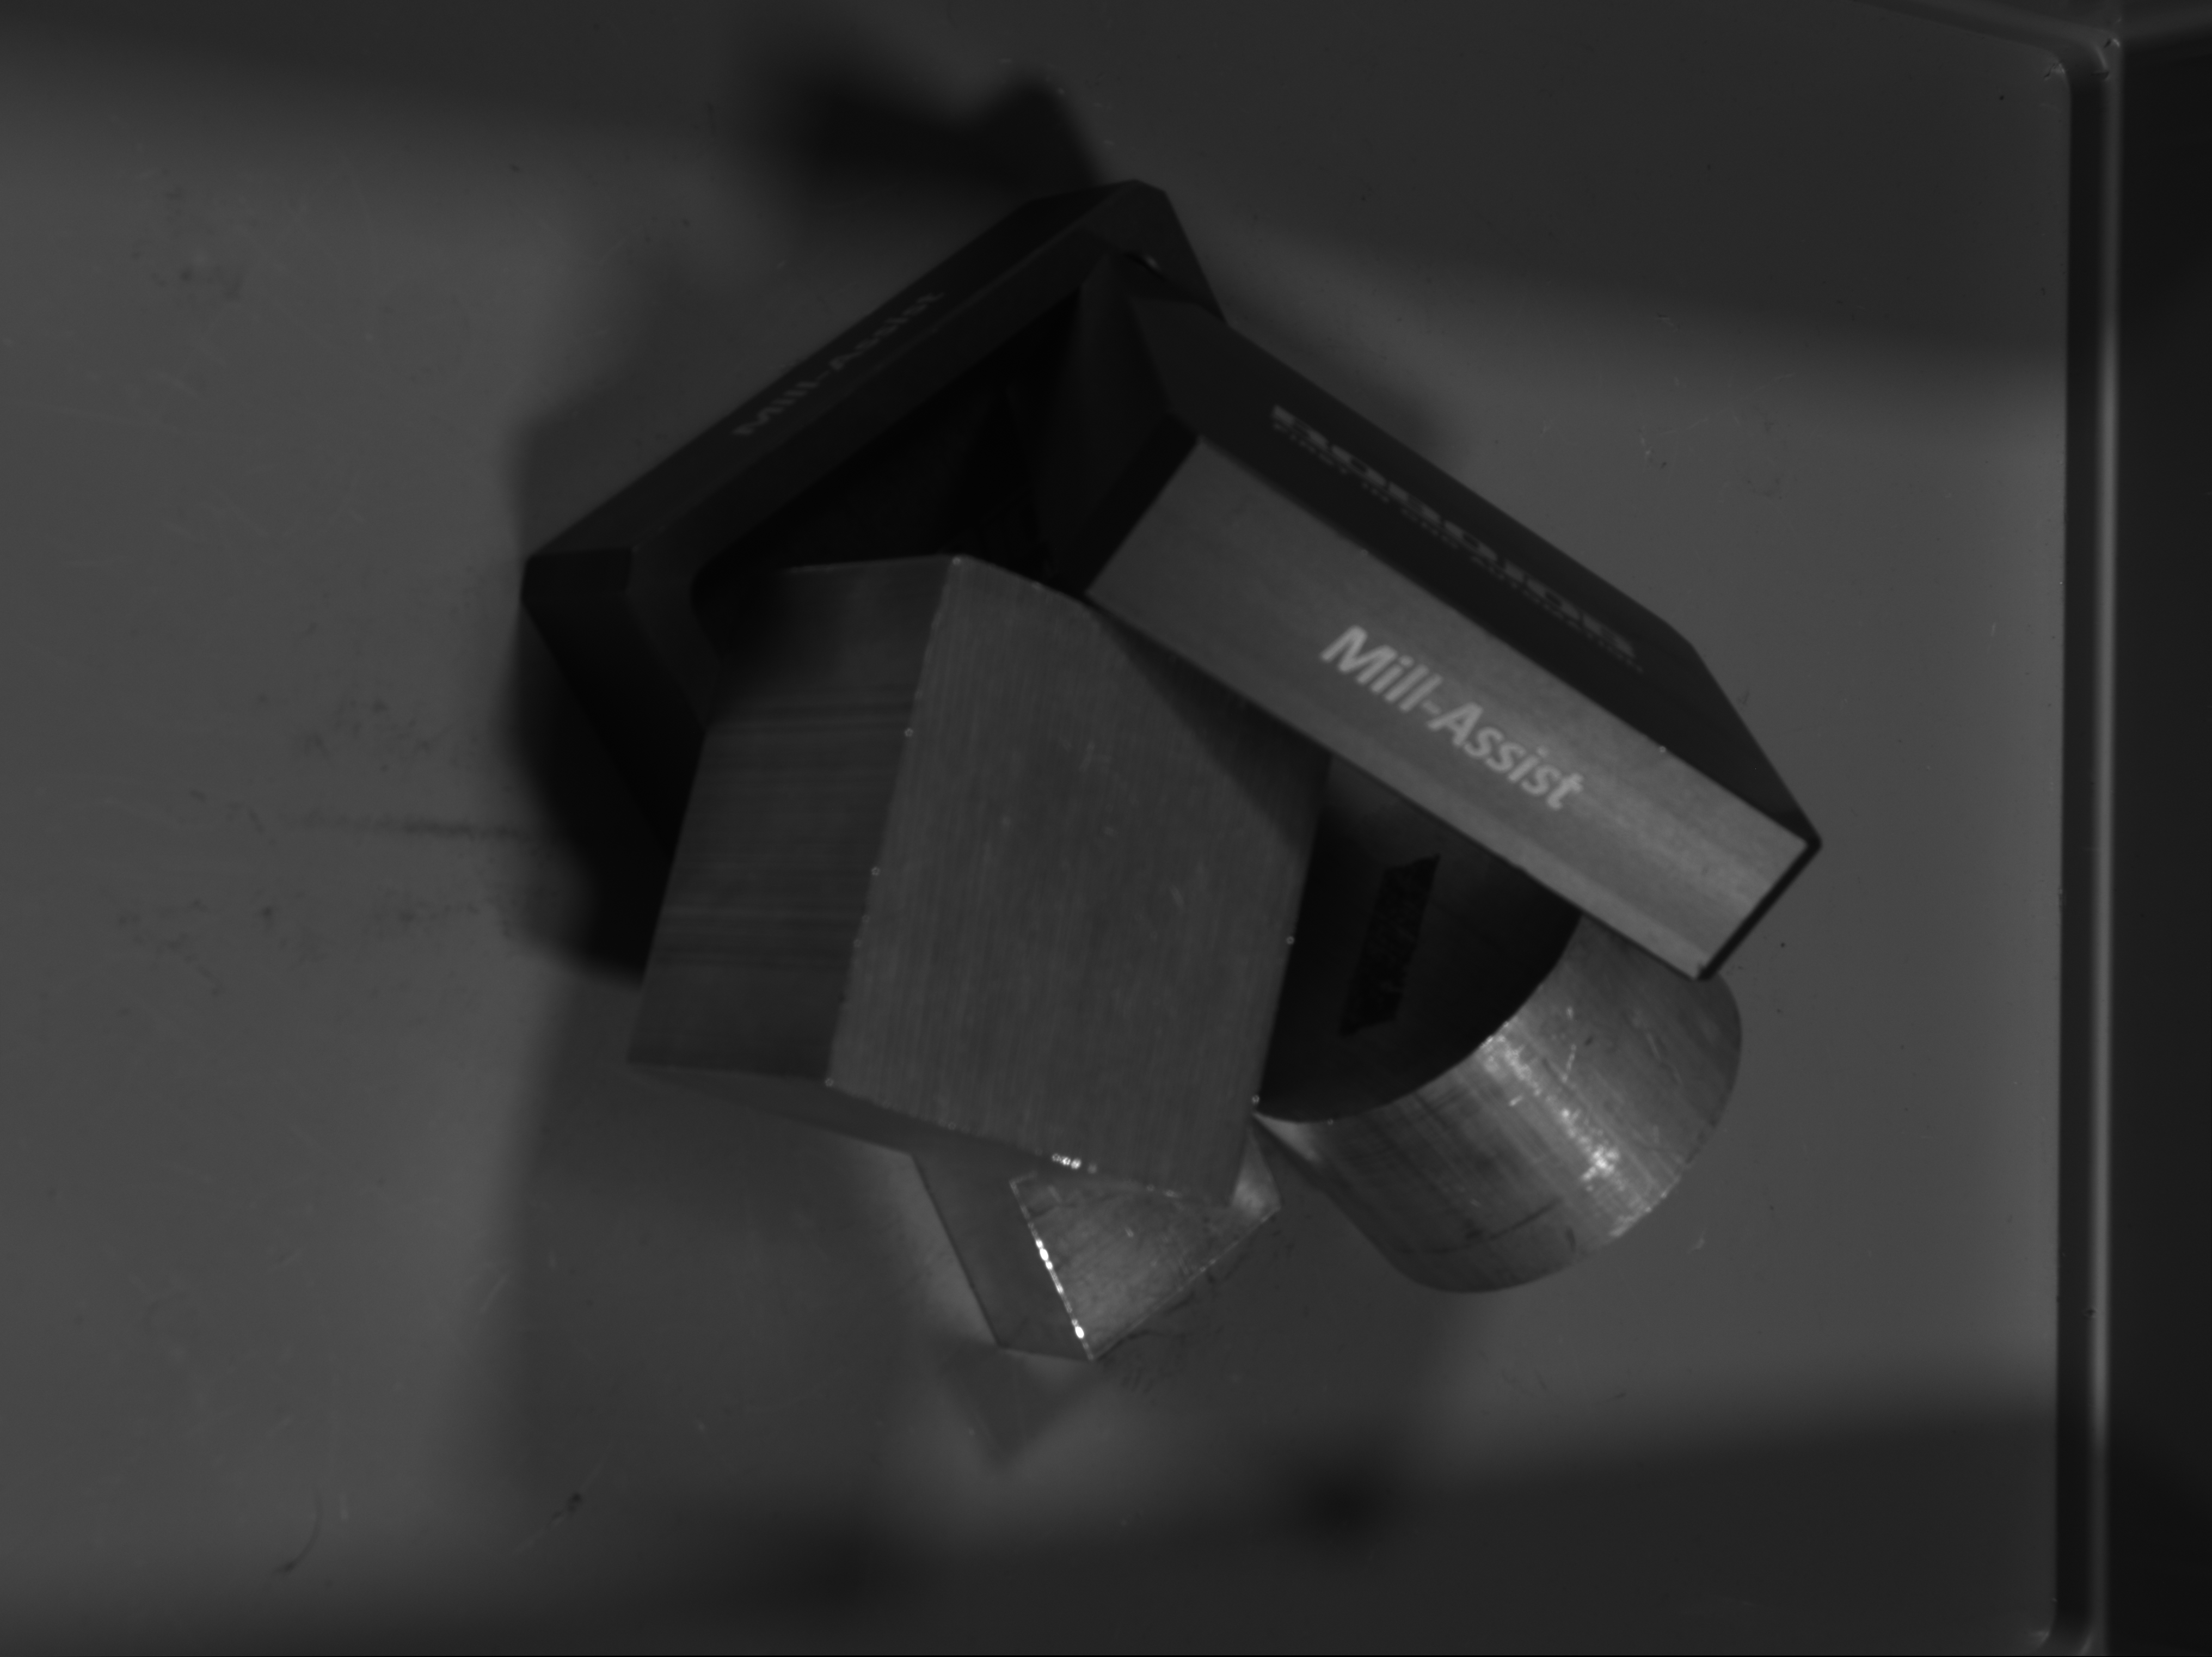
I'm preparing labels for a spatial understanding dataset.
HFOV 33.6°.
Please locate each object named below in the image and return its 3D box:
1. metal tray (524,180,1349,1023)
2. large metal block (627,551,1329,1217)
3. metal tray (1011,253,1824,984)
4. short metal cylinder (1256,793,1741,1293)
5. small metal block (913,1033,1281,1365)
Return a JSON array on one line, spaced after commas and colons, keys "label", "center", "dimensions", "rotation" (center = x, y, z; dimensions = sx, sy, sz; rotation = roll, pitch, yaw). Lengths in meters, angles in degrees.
[{"label": "metal tray", "center": [-0.024, -0.039, 0.612], "dimensions": [0.130, 0.030, 0.090], "rotation": [-41, 115, -32]}, {"label": "large metal block", "center": [-0.018, 0.010, 0.563], "dimensions": [0.080, 0.050, 0.080], "rotation": [21, 77, -38]}, {"label": "metal tray", "center": [0.049, -0.035, 0.597], "dimensions": [0.130, 0.090, 0.030], "rotation": [32, 108, -20]}, {"label": "short metal cylinder", "center": [0.066, 0.036, 0.656], "dimensions": [0.050, 0.080, 0.080], "rotation": [47, 62, -30]}, {"label": "small metal block", "center": [-0.003, 0.057, 0.633], "dimensions": [0.050, 0.025, 0.050], "rotation": [-36, 112, -34]}]
